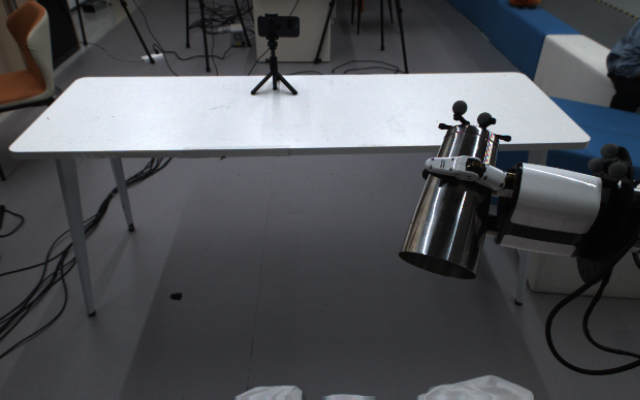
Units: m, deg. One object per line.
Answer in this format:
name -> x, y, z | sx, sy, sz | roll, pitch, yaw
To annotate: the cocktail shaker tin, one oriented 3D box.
cocktail shaker tin -> 0.164, -0.001, 0.582 | 0.093, 0.093, 0.170 | 15, 74, 18
